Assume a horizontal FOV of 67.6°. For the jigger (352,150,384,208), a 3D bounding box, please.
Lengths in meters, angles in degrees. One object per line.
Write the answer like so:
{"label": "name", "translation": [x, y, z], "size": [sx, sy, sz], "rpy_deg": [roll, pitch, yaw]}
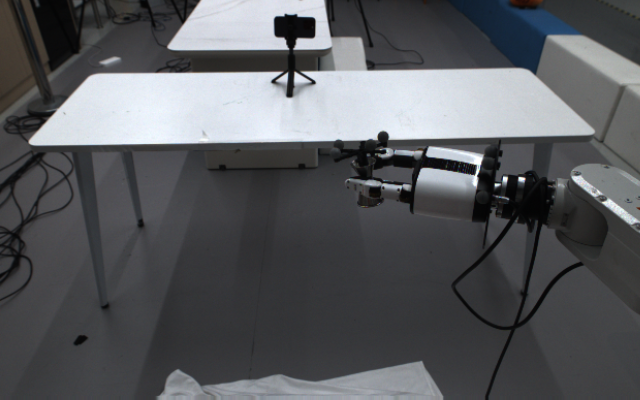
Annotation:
{"label": "jigger", "translation": [0.073, -0.029, 0.753], "size": [0.043, 0.071, 0.043], "rpy_deg": [-11, 24, 5]}
